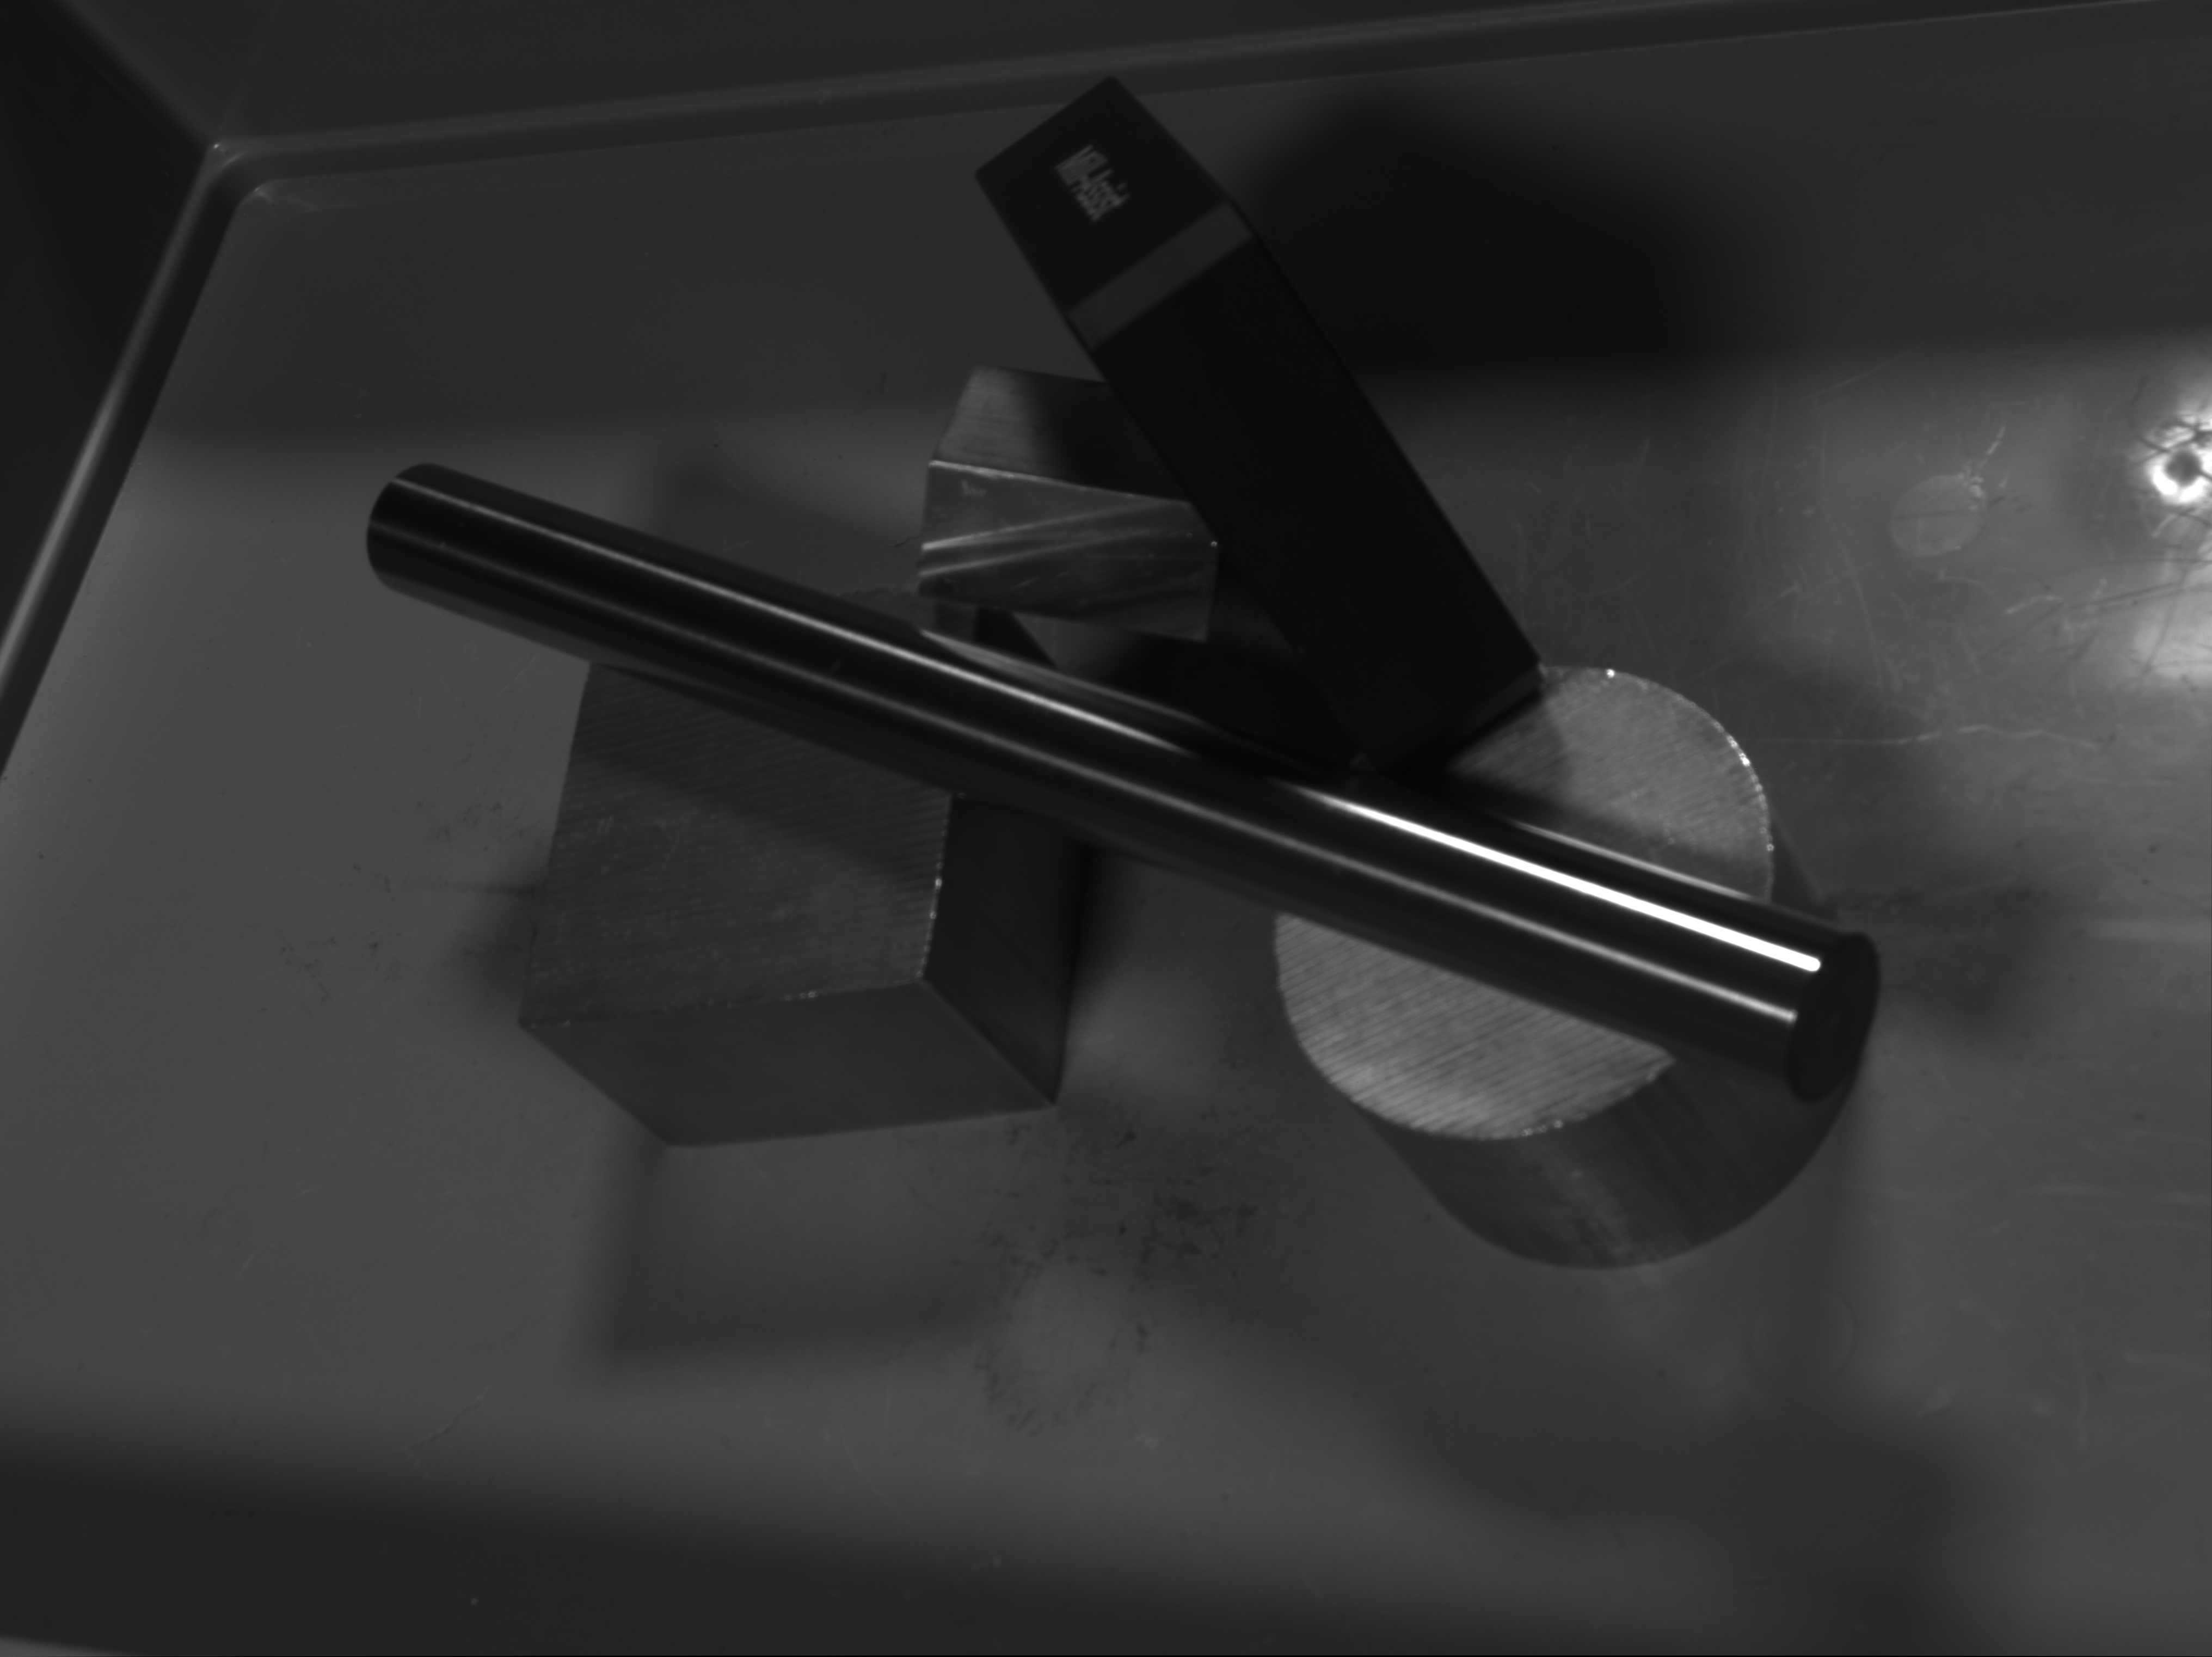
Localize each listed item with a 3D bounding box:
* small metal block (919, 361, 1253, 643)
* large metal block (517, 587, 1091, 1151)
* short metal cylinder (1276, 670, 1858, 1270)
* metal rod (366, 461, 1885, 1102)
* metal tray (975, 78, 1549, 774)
[{"bbox_3d":[-0.002,-0.057,0.636,0.050,0.025,0.050,9,27,3],"label":"small metal block"},{"bbox_3d":[-0.050,0.007,0.650,0.080,0.050,0.080,-8,58,24],"label":"large metal block"},{"bbox_3d":[0.073,0.022,0.574,0.080,0.050,0.080,-13,56,21],"label":"short metal cylinder"},{"bbox_3d":[-0.013,-0.015,0.593,0.299,0.025,0.025,20,72,36],"label":"metal rod"},{"bbox_3d":[0.022,-0.069,0.600,0.030,0.090,0.130,-35,21,4],"label":"metal tray"}]
